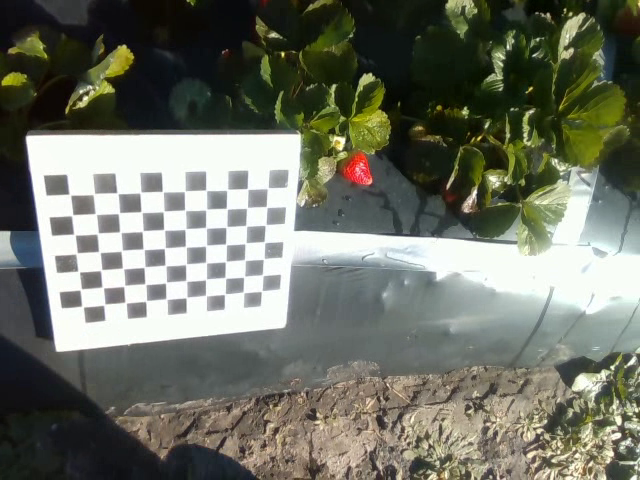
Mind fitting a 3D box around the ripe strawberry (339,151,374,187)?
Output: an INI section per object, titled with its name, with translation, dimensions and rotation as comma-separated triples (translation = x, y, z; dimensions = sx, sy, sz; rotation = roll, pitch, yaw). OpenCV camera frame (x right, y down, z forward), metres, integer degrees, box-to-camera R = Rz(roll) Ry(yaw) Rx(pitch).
[ripe strawberry]
translation = 0.051, -0.091, 0.820
dimensions = 0.054, 0.048, 0.030
rotation = 43, 9, -31
